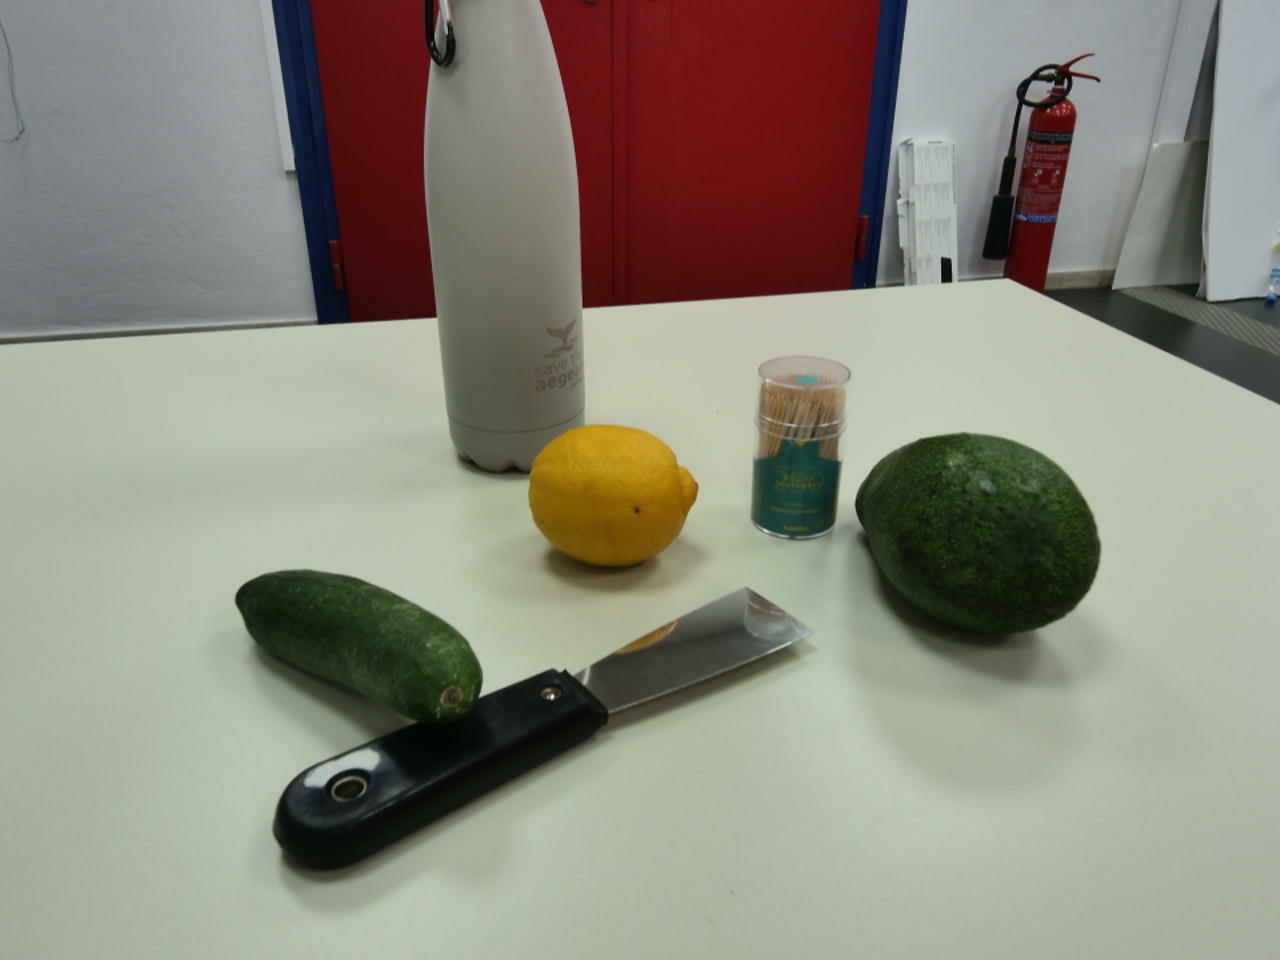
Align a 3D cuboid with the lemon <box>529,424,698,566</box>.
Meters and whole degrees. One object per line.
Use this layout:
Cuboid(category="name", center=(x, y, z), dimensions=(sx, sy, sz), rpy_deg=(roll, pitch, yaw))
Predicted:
Cuboid(category="lemon", center=(-0.013, 0.007, 0.423), dimensions=(0.067, 0.059, 0.060), rpy_deg=(14, 27, 26))
